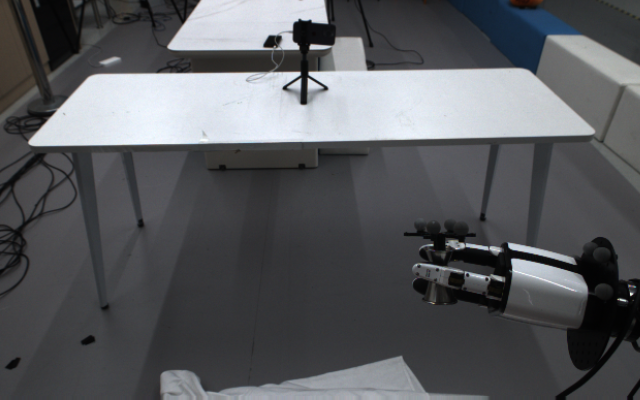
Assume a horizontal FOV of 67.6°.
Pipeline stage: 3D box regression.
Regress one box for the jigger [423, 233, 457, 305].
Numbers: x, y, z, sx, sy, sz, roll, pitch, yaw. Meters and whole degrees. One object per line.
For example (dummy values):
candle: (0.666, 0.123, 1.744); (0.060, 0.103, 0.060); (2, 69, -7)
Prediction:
jigger: (0.152, 0.093, 0.620); (0.043, 0.071, 0.043); (-1, 2, 0)
